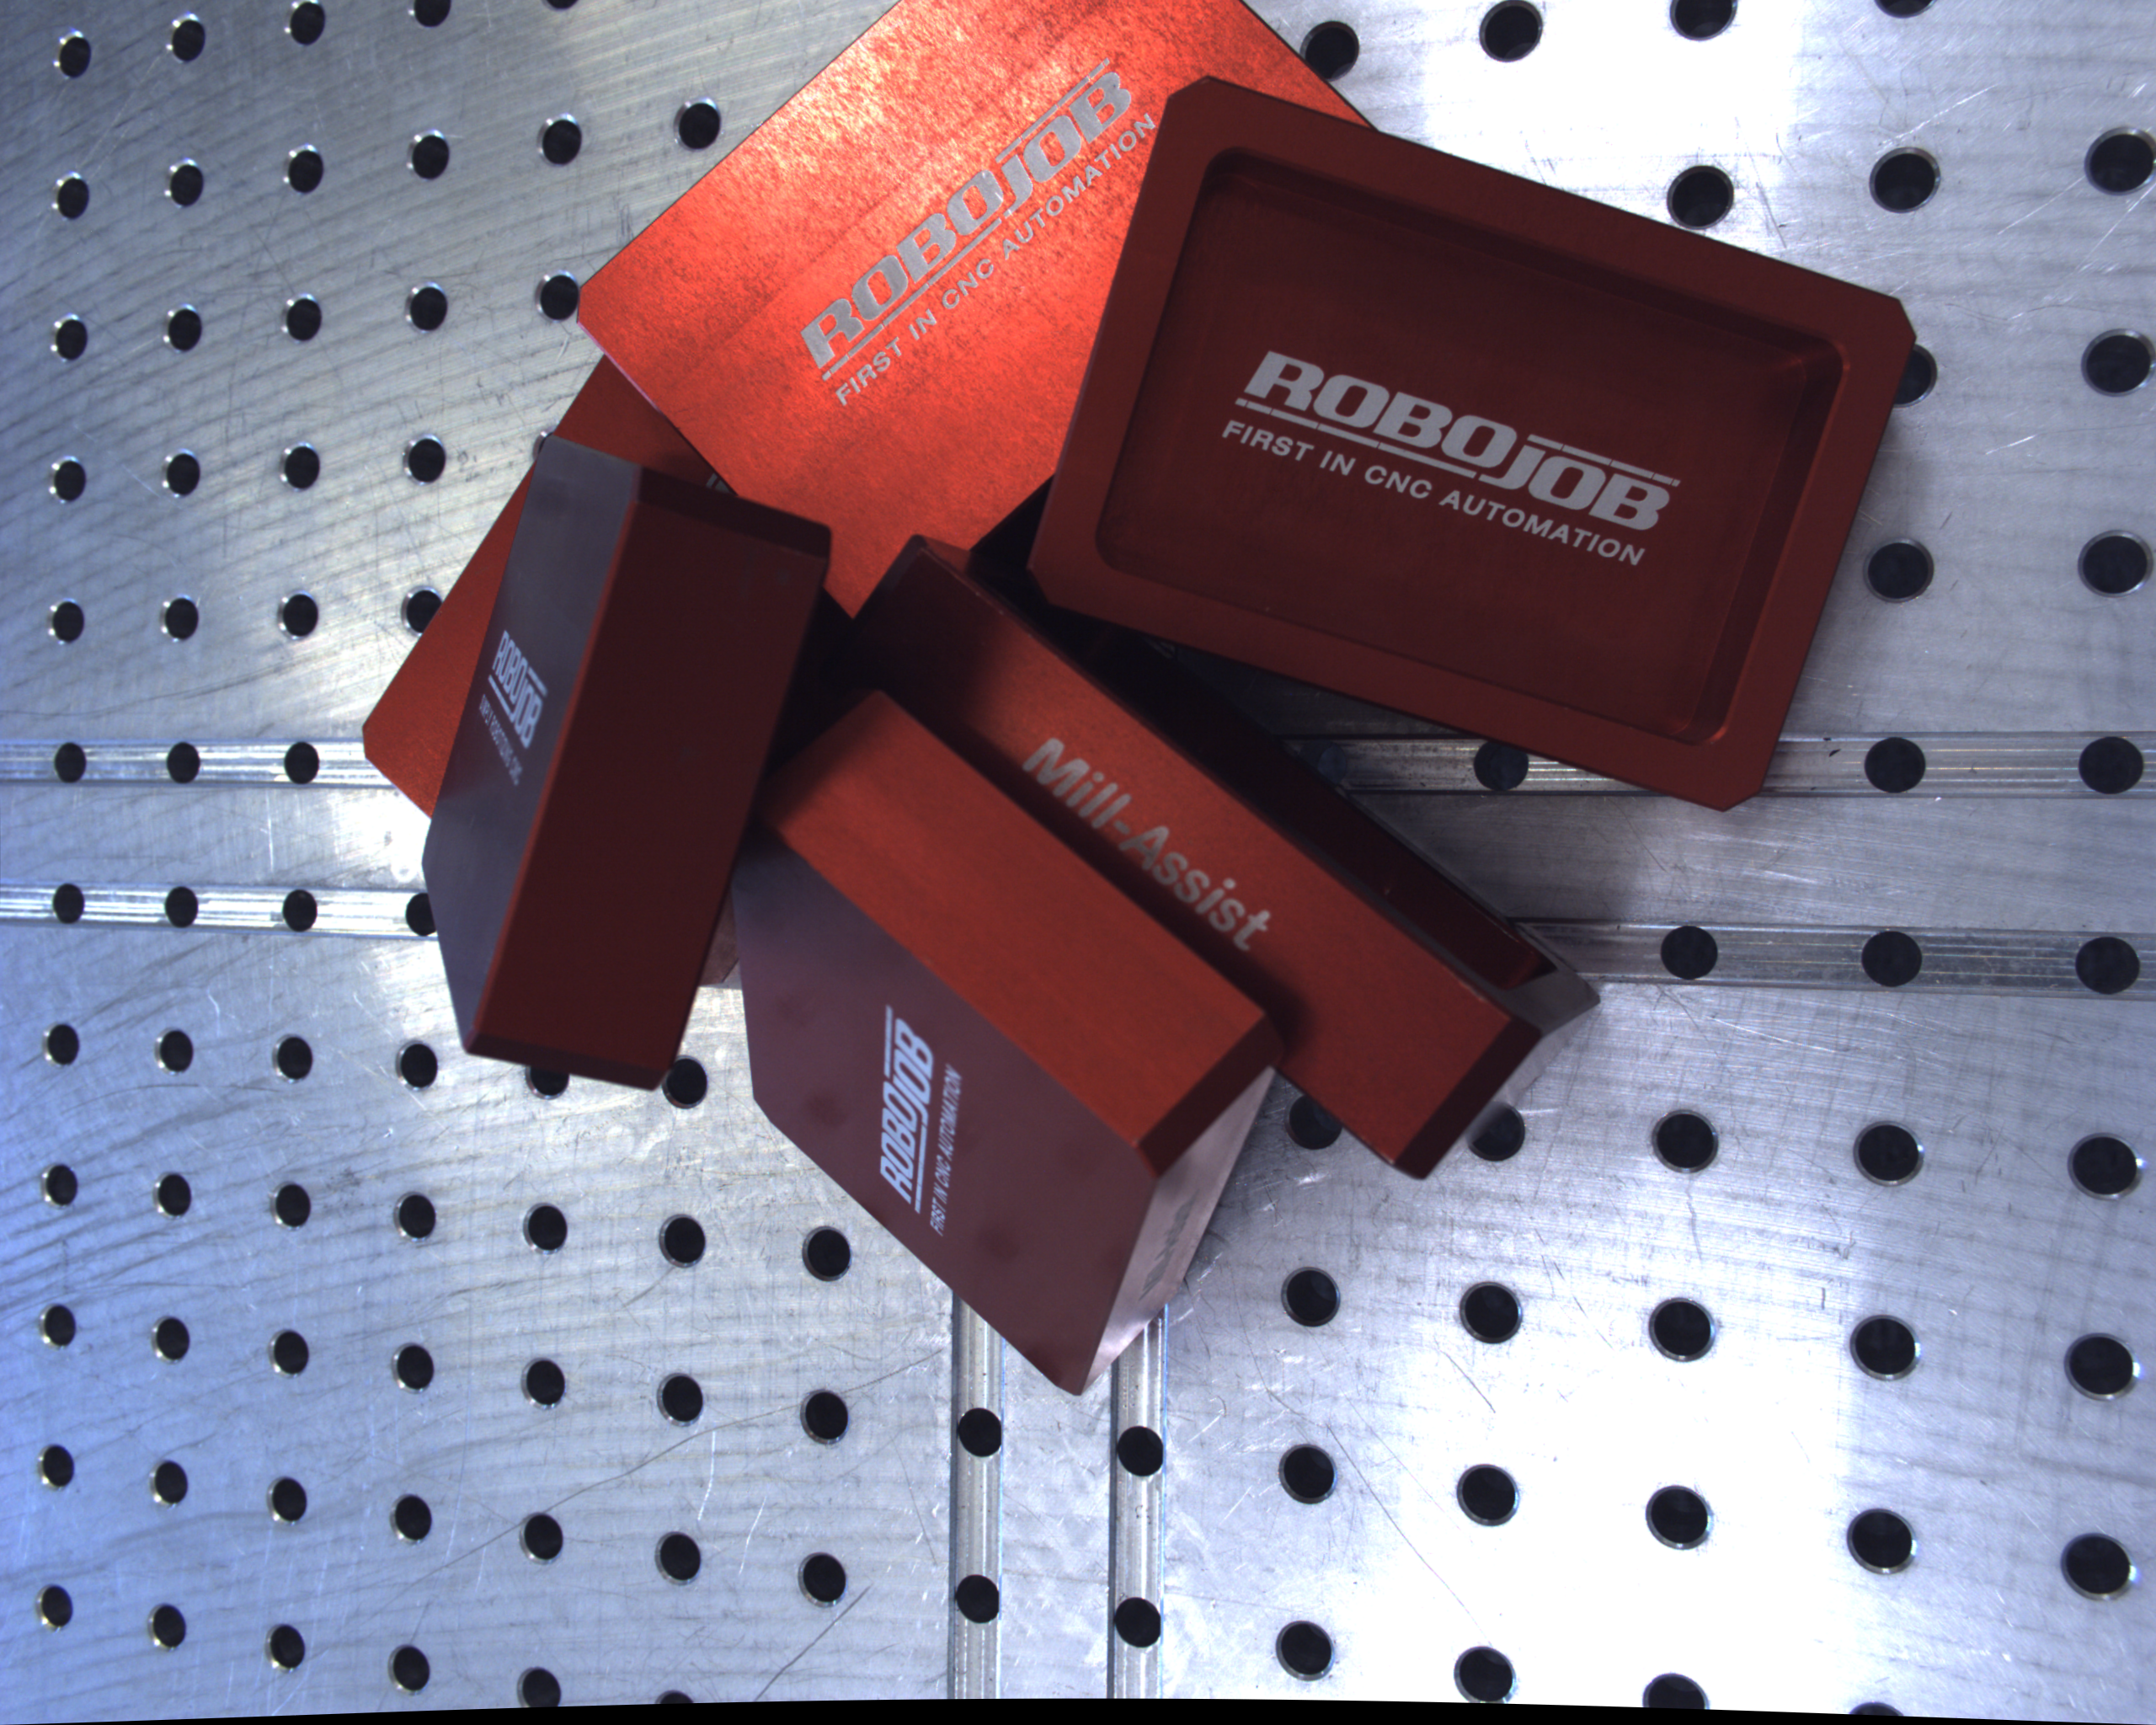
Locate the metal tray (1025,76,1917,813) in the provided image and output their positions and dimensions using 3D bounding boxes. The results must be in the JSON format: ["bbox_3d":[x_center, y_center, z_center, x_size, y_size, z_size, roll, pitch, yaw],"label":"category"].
[{"bbox_3d":[0.065,-0.070,0.361,0.131,0.030,0.090,17,96,-4],"label":"metal tray"}]

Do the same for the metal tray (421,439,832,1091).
[{"bbox_3d":[-0.084,-0.024,0.362,0.030,0.130,0.090,16,97,-23],"label":"metal tray"}]

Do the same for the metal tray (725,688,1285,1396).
[{"bbox_3d":[-0.018,0.037,0.368,0.090,0.129,0.030,40,64,15],"label":"metal tray"}]

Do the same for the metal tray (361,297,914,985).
[{"bbox_3d":[-0.081,-0.048,0.439,0.090,0.030,0.130,40,103,14],"label":"metal tray"}]

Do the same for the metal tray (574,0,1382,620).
[{"bbox_3d":[-0.017,-0.114,0.397,0.130,0.030,0.090,-42,80,0],"label":"metal tray"}]

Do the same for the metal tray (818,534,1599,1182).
[{"bbox_3d":[0.026,-0.003,0.368,0.130,0.090,0.030,40,103,15],"label":"metal tray"}]
